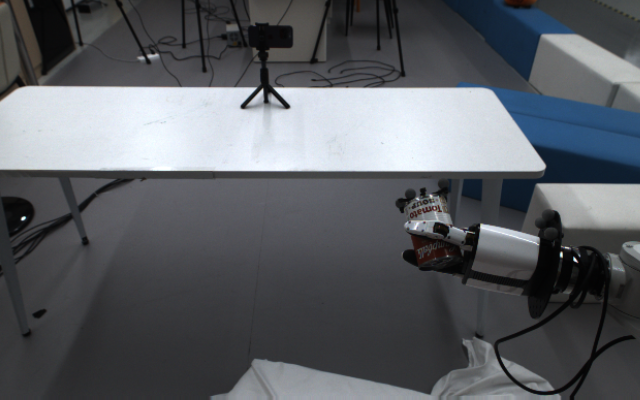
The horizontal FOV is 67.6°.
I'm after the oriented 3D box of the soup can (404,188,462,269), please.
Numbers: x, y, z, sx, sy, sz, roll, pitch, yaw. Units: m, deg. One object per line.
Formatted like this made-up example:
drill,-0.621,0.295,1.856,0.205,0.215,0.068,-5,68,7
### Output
soup can,0.173,0.049,0.742,0.067,0.067,0.101,-7,68,-13
